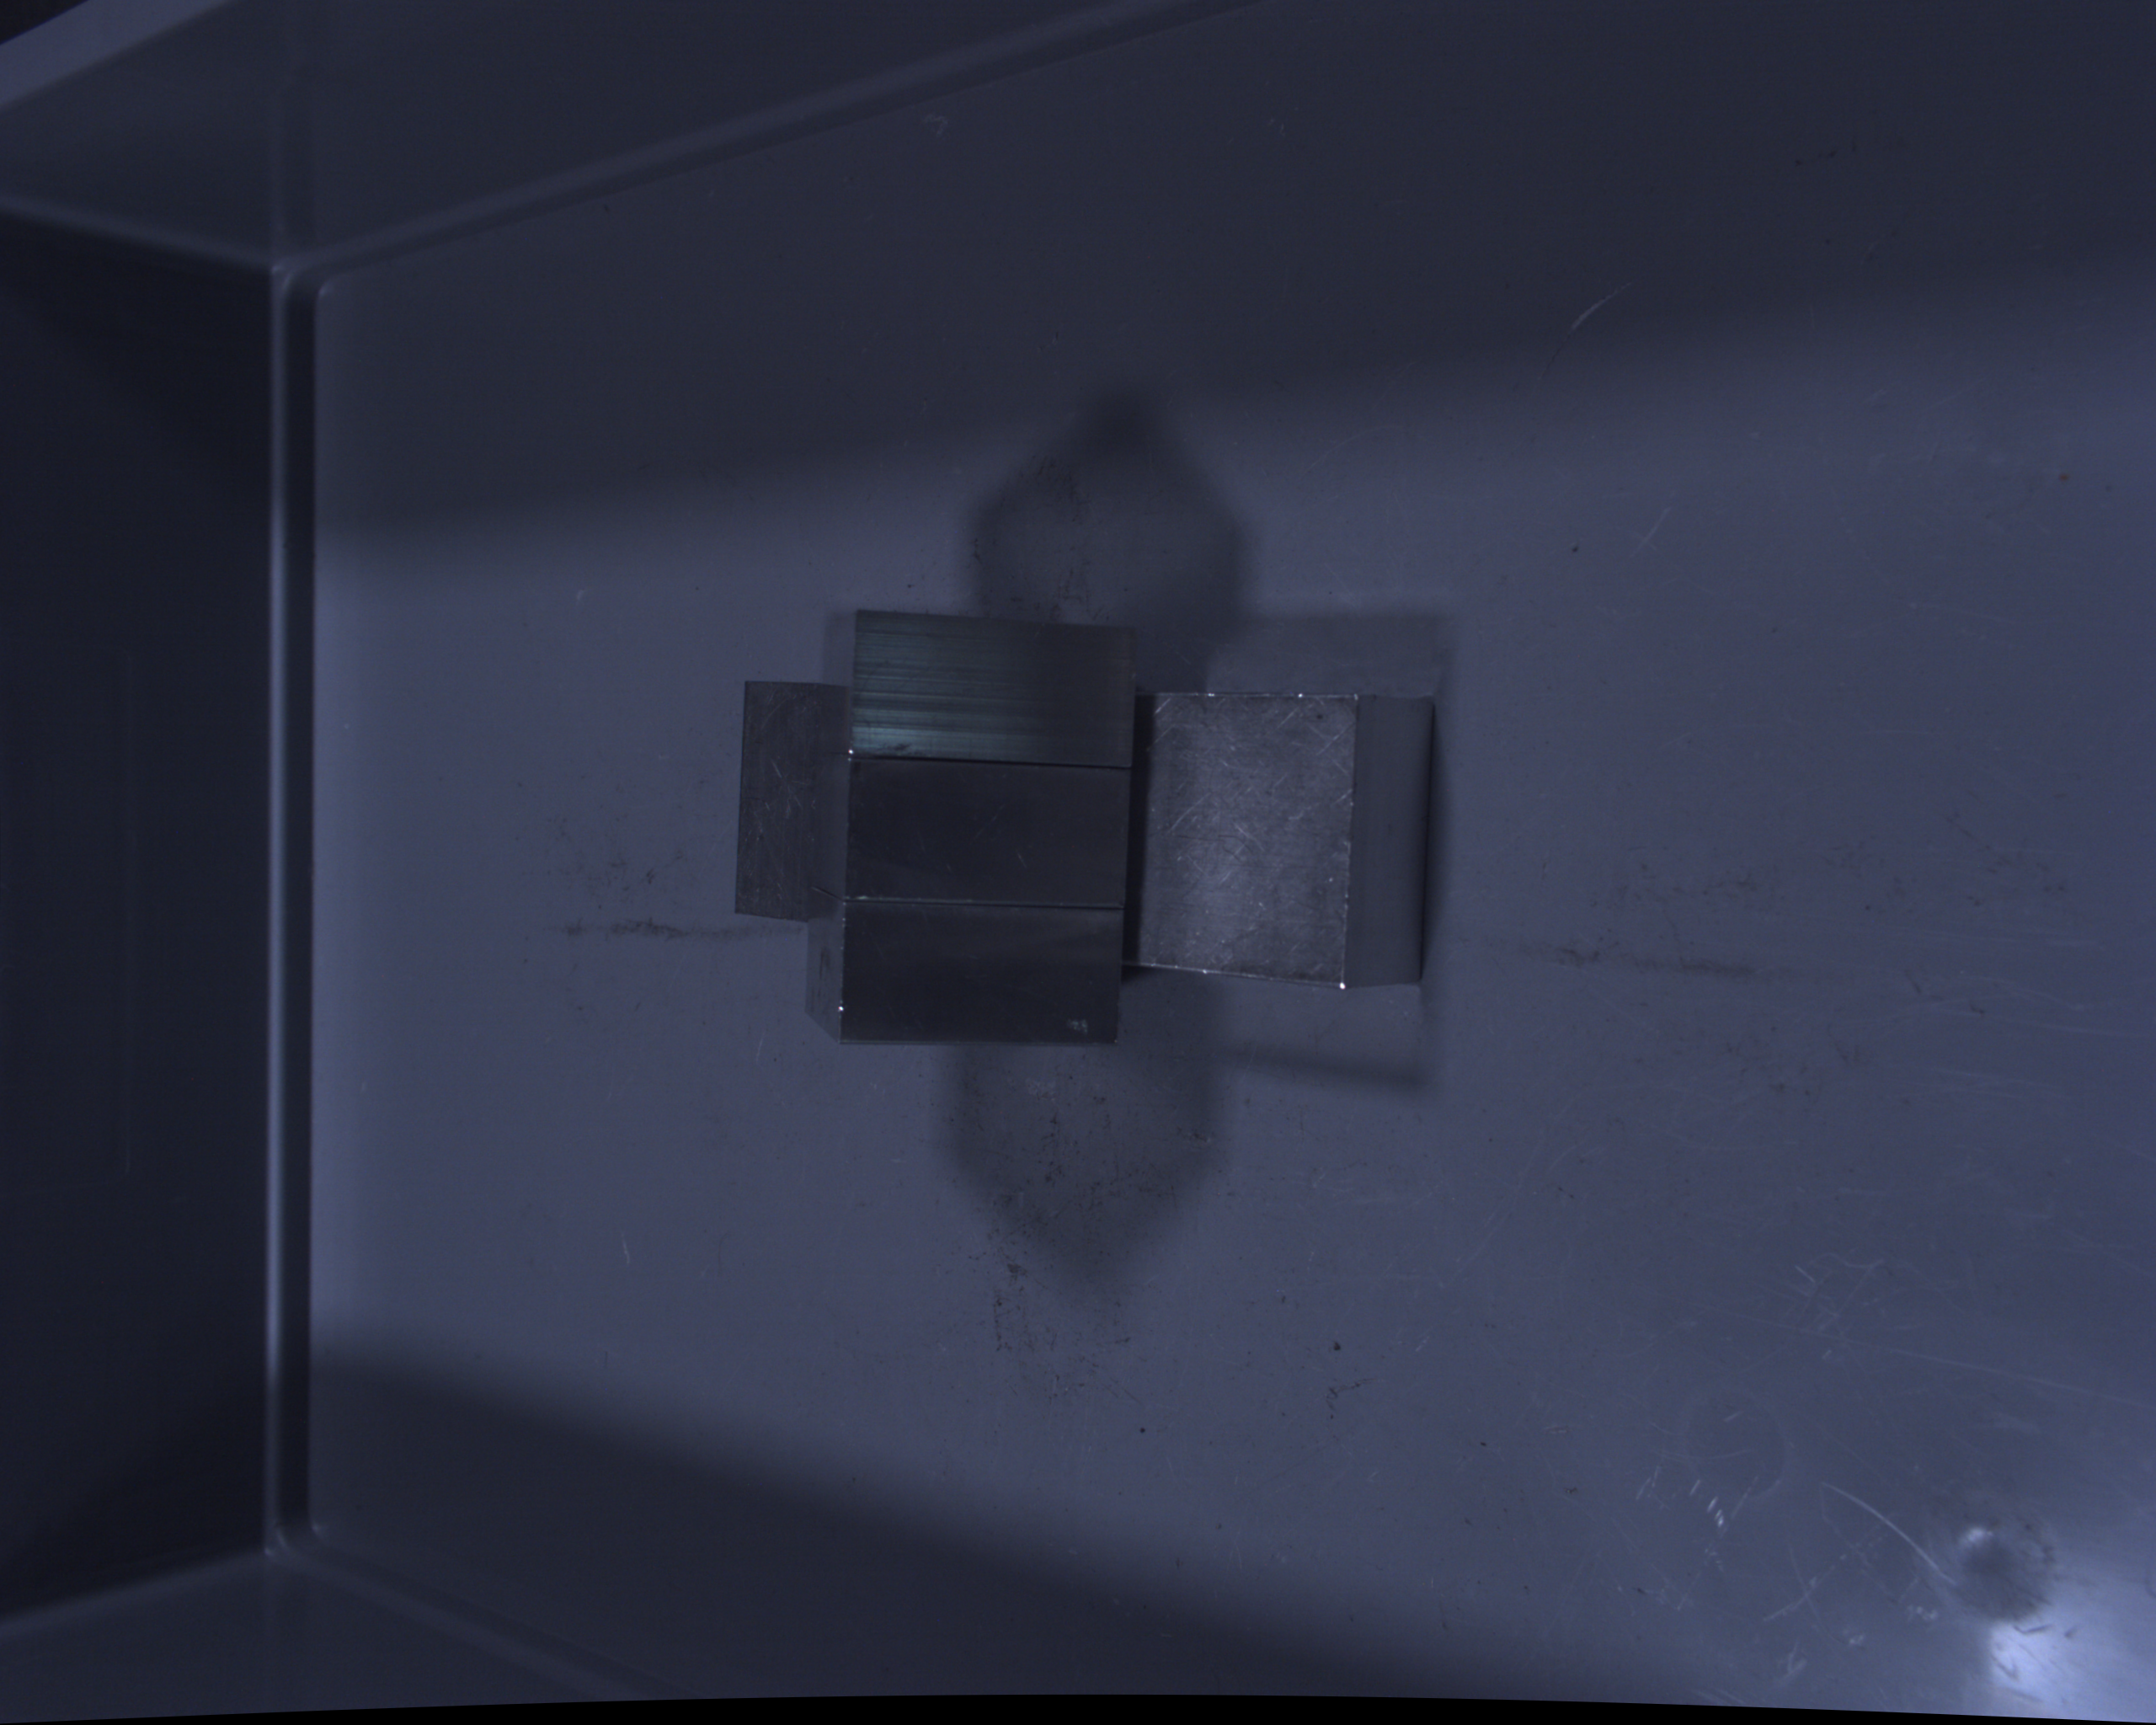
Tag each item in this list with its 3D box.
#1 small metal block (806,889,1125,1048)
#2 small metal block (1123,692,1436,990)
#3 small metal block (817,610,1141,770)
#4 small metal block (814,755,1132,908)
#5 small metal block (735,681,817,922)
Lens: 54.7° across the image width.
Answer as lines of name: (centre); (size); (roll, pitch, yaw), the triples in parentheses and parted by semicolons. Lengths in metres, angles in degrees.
small metal block: (-0.023, 0.019, 0.392); (0.050, 0.050, 0.025); (-172, 84, -76)
small metal block: (0.035, -0.005, 0.375); (0.050, 0.025, 0.050); (4, 93, 39)
small metal block: (-0.020, -0.031, 0.389); (0.050, 0.050, 0.025); (-169, 81, -76)
small metal block: (-0.021, -0.006, 0.391); (0.050, 0.050, 0.025); (-172, 84, -76)
small metal block: (-0.045, -0.012, 0.440); (0.050, 0.025, 0.050); (5, 93, 39)
